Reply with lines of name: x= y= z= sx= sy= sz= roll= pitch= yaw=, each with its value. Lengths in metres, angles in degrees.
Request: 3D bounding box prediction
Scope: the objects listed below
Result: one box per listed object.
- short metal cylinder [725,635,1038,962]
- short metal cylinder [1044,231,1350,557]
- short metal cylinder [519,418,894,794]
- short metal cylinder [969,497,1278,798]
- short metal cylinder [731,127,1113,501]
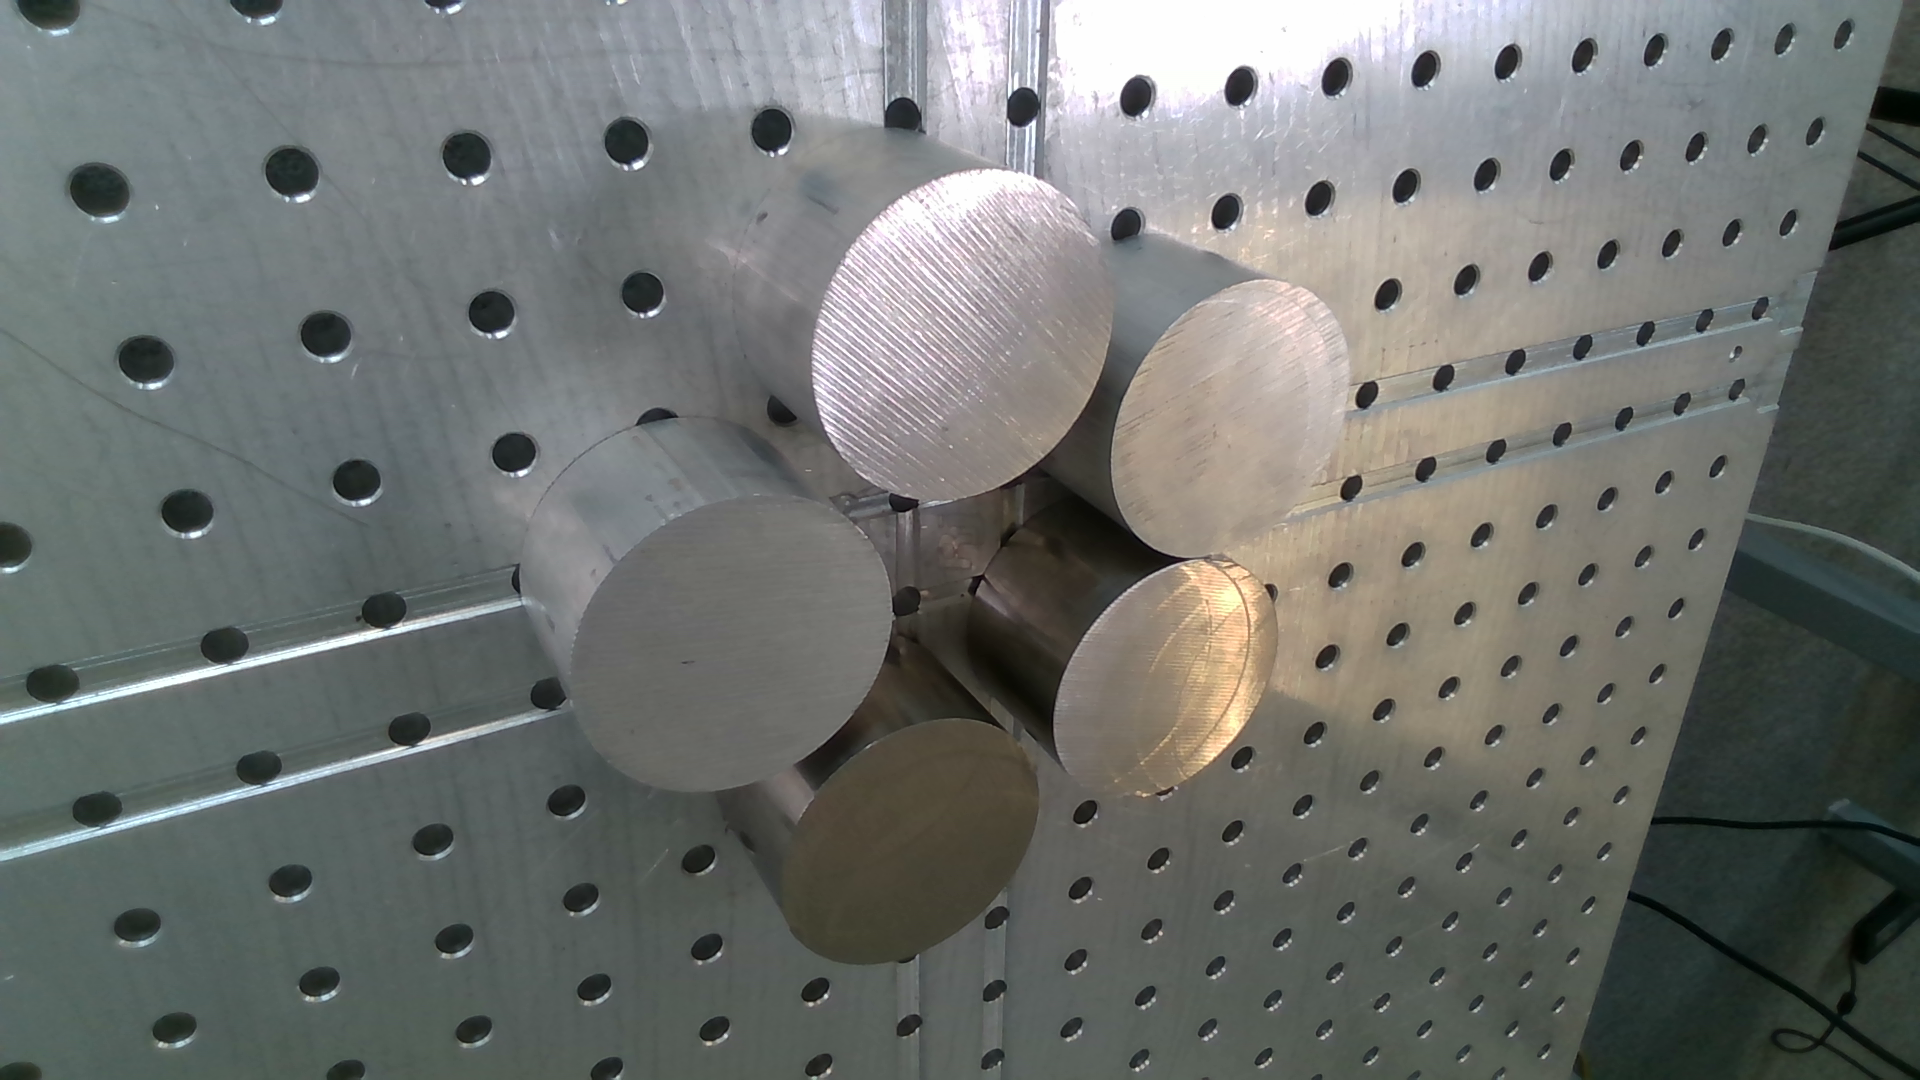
short metal cylinder: x=-0.024 y=0.074 z=0.400 sx=0.080 sy=0.050 sz=0.080 roll=-14 pitch=122 yaw=-24
short metal cylinder: x=0.063 y=-0.042 z=0.392 sx=0.080 sy=0.050 sz=0.080 roll=-15 pitch=122 yaw=-25
short metal cylinder: x=-0.064 y=0.016 z=0.344 sx=0.080 sy=0.050 sz=0.080 roll=-14 pitch=121 yaw=-25
short metal cylinder: x=0.050 y=0.031 z=0.423 sx=0.080 sy=0.050 sz=0.080 roll=-14 pitch=121 yaw=-25
short metal cylinder: x=-0.010 y=-0.056 z=0.340 sx=0.080 sy=0.050 sz=0.080 roll=-14 pitch=122 yaw=-25
